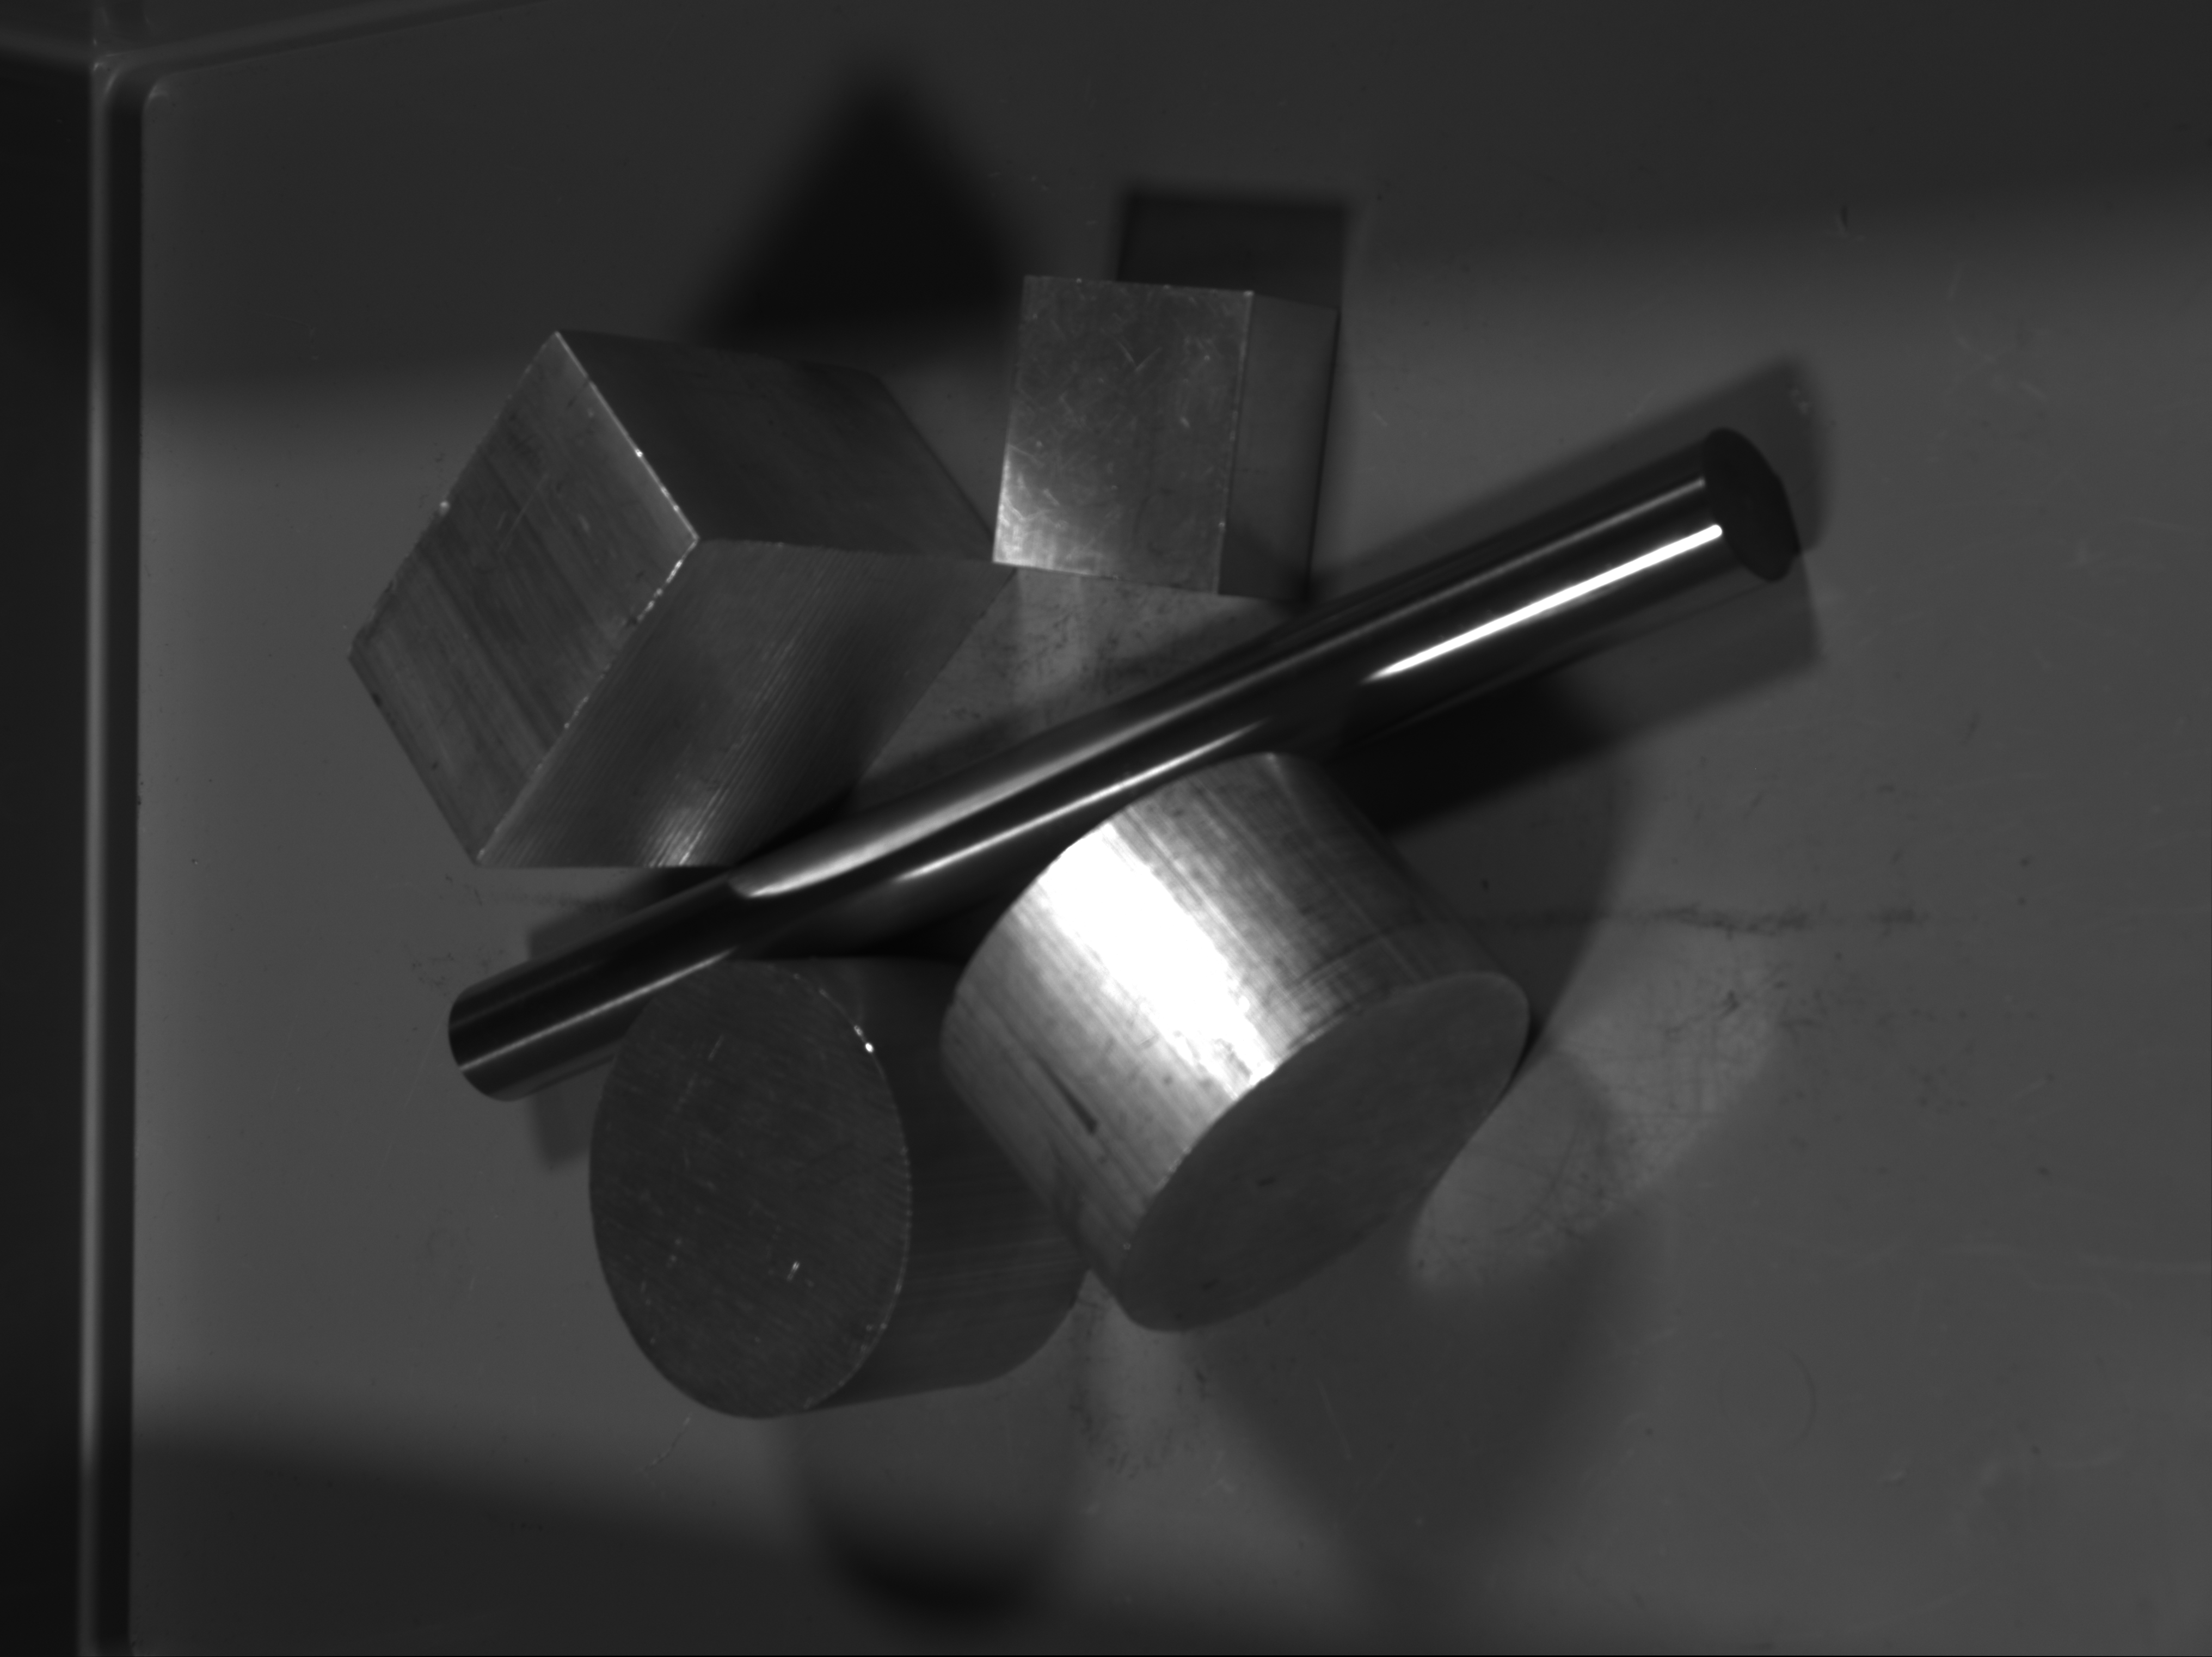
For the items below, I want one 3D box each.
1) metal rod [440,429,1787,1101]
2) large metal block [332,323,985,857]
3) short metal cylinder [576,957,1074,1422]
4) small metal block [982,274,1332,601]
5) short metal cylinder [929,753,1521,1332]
[{"bbox_3d":[-0.014,-0.003,0.647,0.299,0.025,0.025,-23,76,37],"label":"metal rod"},{"bbox_3d":[-0.079,-0.041,0.665,0.080,0.080,0.050,-51,60,27],"label":"large metal block"},{"bbox_3d":[-0.049,0.063,0.658,0.080,0.050,0.080,0,90,39],"label":"short metal cylinder"},{"bbox_3d":[0.008,-0.067,0.628,0.050,0.025,0.050,11,97,39],"label":"small metal block"},{"bbox_3d":[0.019,0.034,0.584,0.050,0.080,0.080,50,119,28],"label":"short metal cylinder"}]
